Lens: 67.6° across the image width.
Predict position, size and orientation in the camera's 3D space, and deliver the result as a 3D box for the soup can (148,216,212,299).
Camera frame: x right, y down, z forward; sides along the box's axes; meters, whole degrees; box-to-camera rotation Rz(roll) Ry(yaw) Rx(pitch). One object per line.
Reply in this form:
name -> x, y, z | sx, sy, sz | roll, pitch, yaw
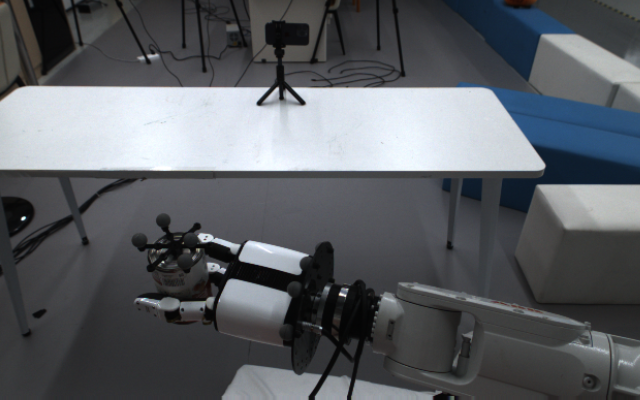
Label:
soup can -> -0.172, 0.101, 0.610 | 0.067, 0.101, 0.067 | 1, 39, -1
